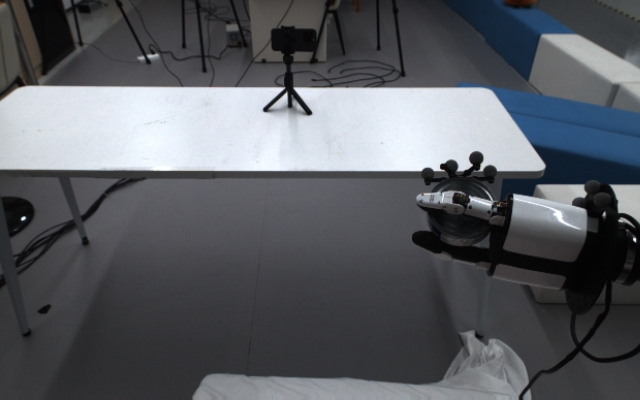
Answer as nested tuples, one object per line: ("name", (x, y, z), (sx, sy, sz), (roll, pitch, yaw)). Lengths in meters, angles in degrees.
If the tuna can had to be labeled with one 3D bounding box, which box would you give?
("tuna can", (0.180, 0.013, 0.618), (0.085, 0.034, 0.085), (-6, 59, 11))
